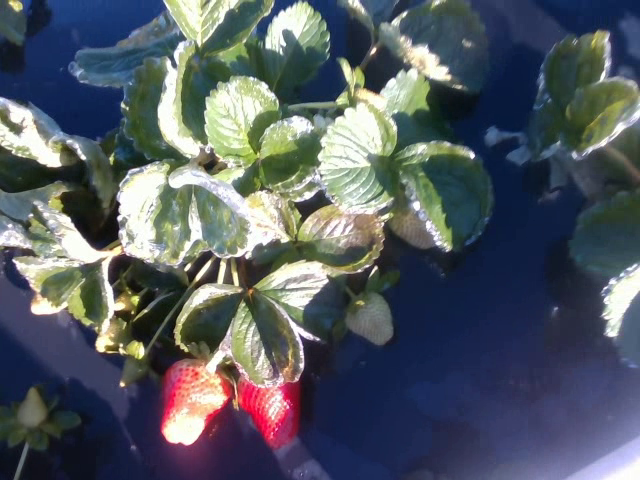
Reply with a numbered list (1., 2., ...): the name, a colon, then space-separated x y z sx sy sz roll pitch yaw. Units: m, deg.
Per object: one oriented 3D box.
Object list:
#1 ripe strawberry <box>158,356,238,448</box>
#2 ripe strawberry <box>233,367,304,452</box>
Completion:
1. ripe strawberry: -0.087 0.119 0.465 0.052 0.070 0.040 14 1 -6
2. ripe strawberry: -0.035 0.114 0.452 0.044 0.059 0.040 -32 0 7
